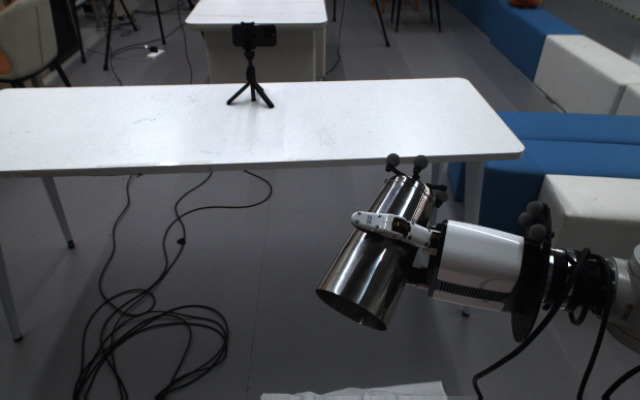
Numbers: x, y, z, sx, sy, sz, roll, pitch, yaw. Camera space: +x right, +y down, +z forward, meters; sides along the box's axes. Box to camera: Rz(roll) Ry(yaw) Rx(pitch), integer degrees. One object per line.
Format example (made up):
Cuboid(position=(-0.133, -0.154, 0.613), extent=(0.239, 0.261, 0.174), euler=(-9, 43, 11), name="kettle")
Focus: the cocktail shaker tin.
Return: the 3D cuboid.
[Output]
Cuboid(position=(0.077, 0.054, 0.575), extent=(0.093, 0.093, 0.170), euler=(19, 66, 23), name="cocktail shaker tin")
